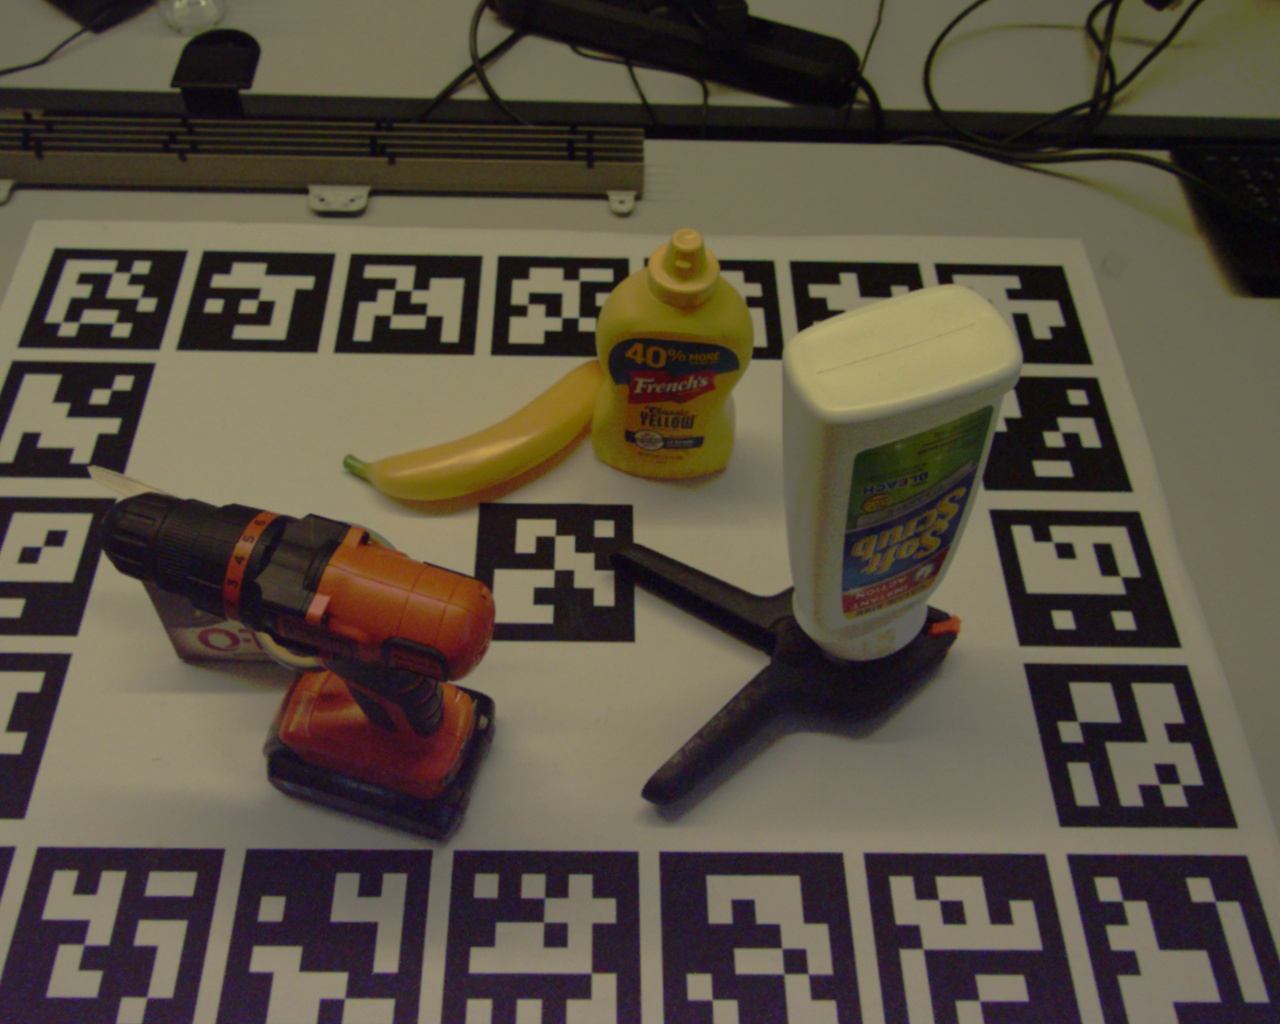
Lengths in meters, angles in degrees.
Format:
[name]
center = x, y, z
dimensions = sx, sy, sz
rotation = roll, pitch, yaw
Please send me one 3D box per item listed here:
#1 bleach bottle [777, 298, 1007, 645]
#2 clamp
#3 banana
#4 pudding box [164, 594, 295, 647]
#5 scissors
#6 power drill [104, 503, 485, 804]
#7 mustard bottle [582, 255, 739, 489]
[bleach bottle]
center = 0.126, 0.002, 0.624
dimensions = 0.102, 0.249, 0.068
rotation = -18, 55, -6
[clamp]
center = 0.085, 0.072, 0.701
dimensions = 0.202, 0.036, 0.166
rotation = -4, 59, -7
[banana]
center = -0.098, -0.069, 0.798
dimensions = 0.196, 0.038, 0.075
rotation = -34, 47, -22
[pudding box]
center = -0.229, 0.044, 0.694
dimensions = 0.114, 0.090, 0.039
rotation = 5, 50, 0
[scissors]
center = -0.235, 0.003, 0.644
dimensions = 0.203, 0.016, 0.087
rotation = 24, 63, 8
[power drill]
center = -0.165, 0.073, 0.584
dimensions = 0.185, 0.186, 0.057
rotation = 11, 50, 8
[mustard bottle]
center = 0.013, -0.091, 0.738
dimensions = 0.096, 0.191, 0.058
rotation = 14, 56, 4
